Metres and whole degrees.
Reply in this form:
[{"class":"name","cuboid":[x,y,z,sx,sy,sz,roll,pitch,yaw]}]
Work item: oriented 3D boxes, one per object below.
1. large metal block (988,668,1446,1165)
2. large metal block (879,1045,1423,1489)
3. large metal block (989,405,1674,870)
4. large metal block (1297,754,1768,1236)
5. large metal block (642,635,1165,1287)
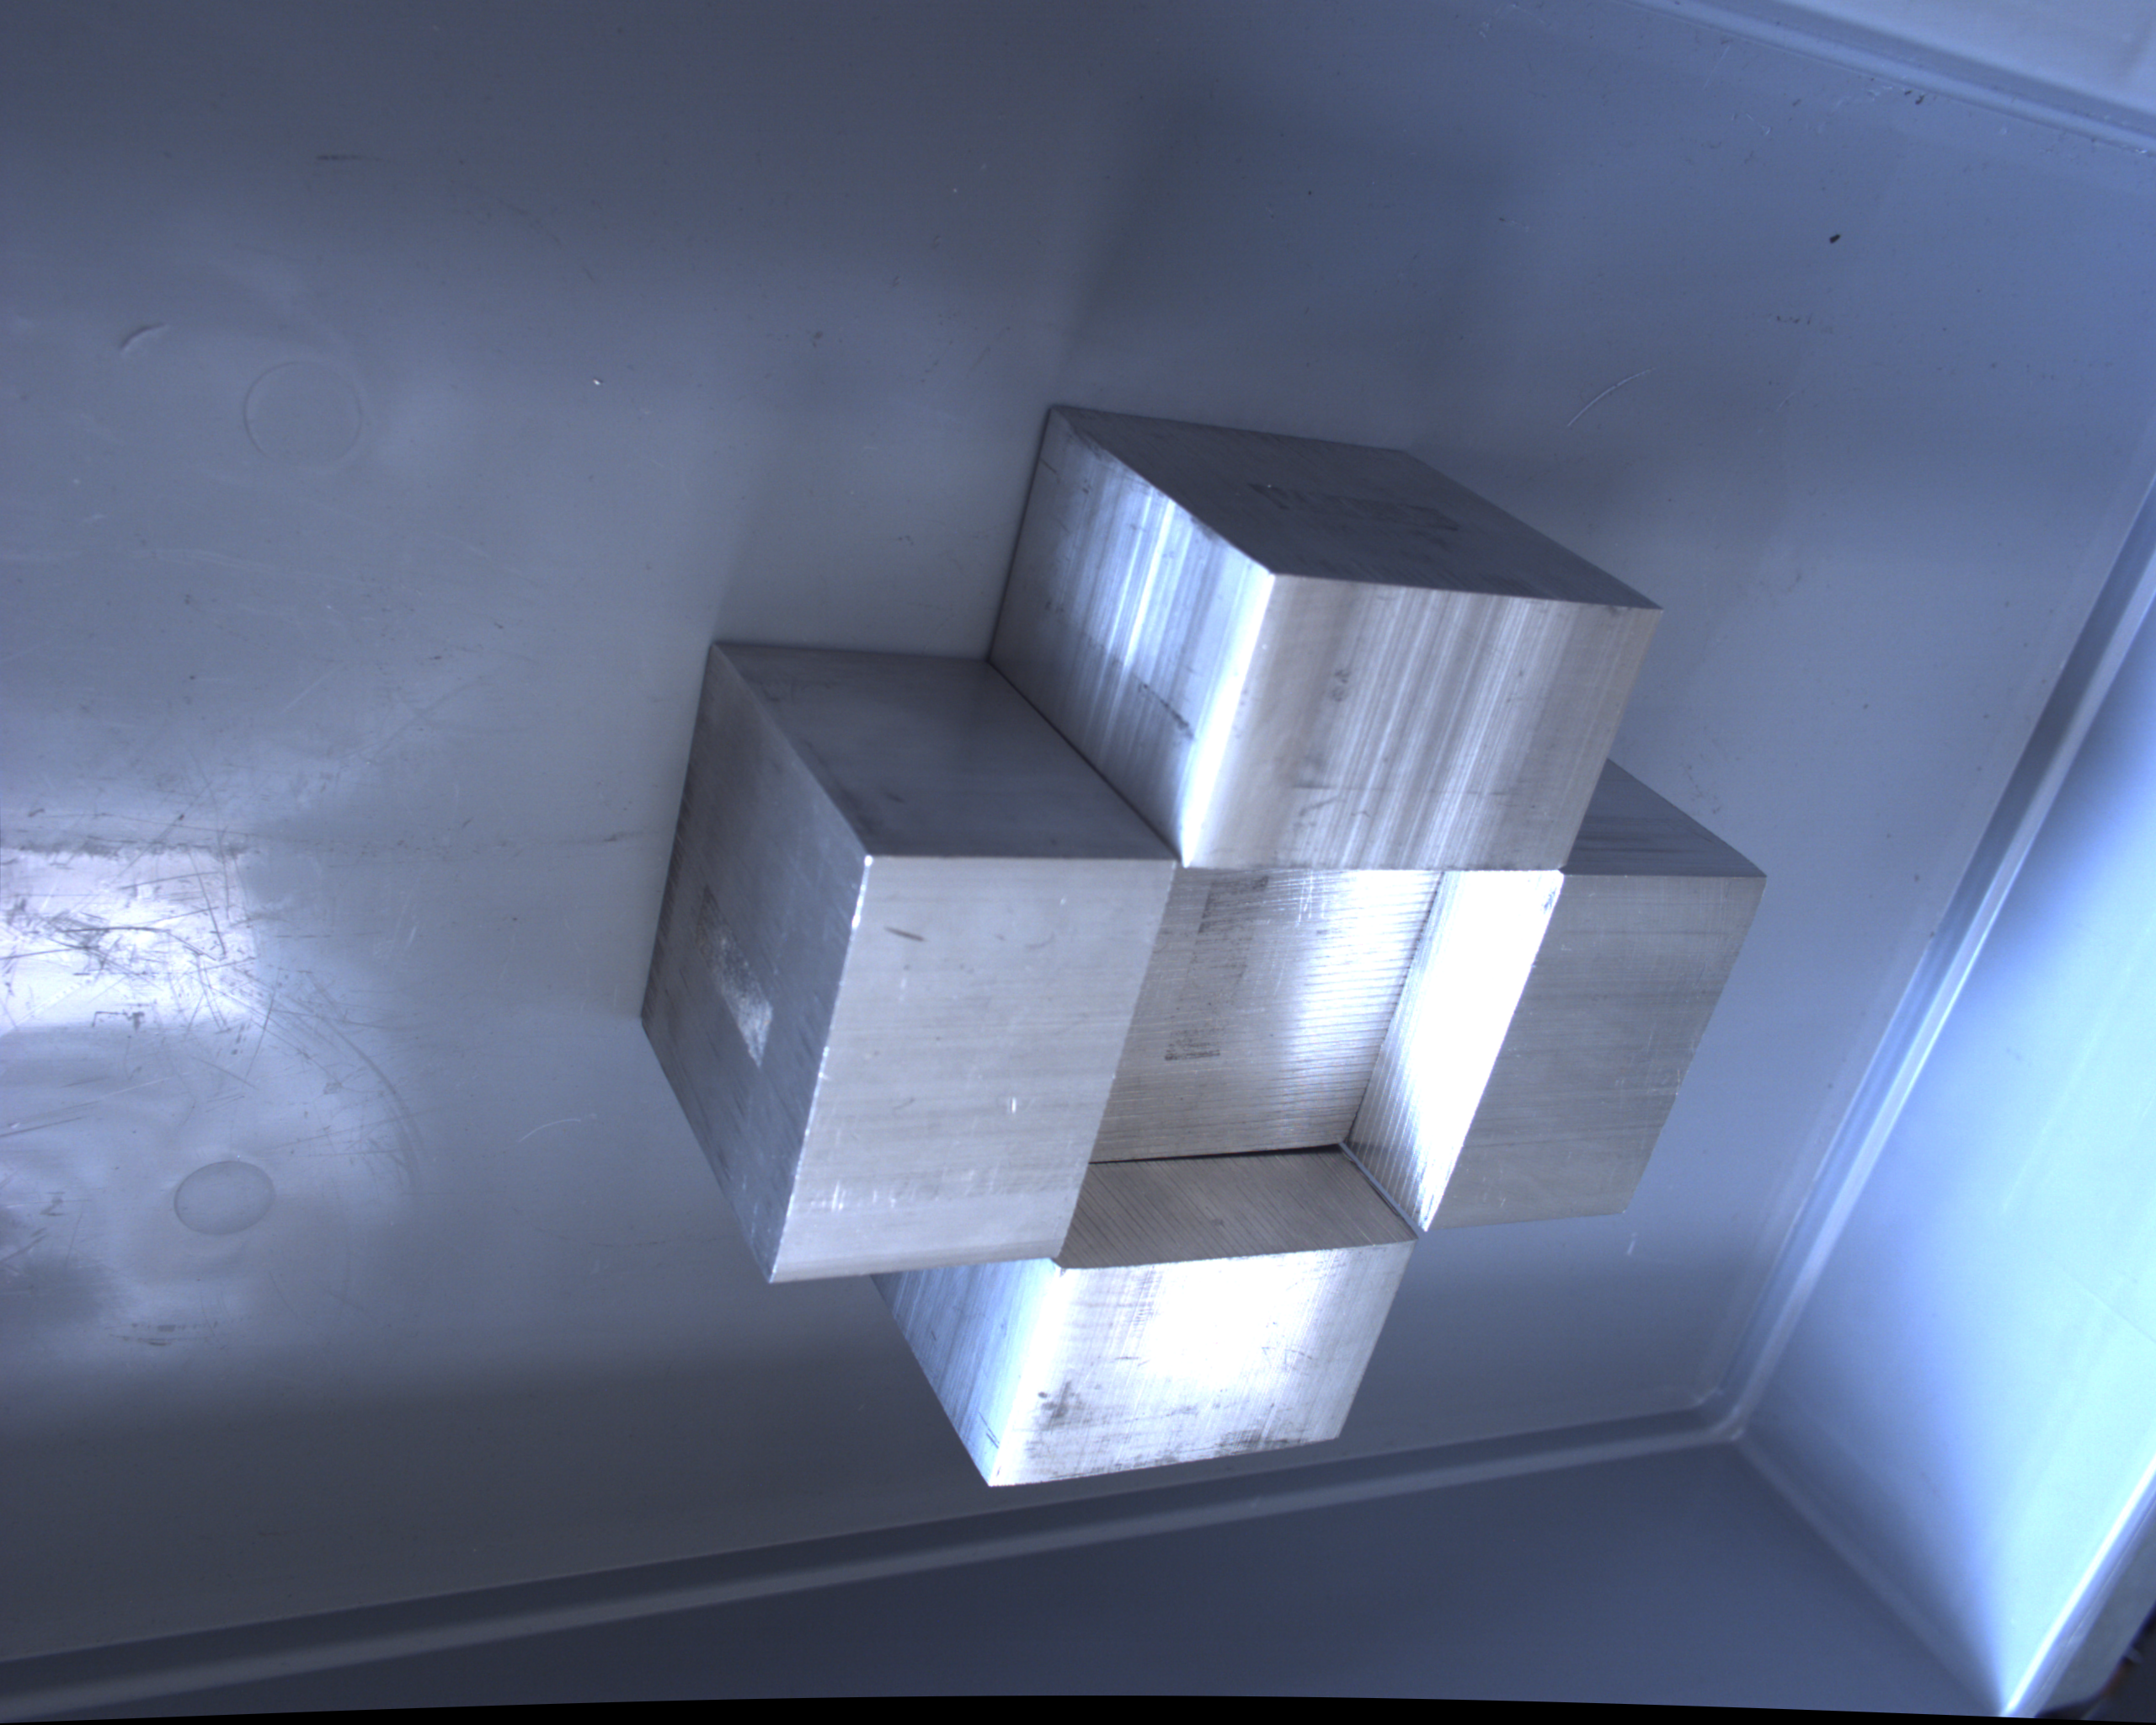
[{"class":"large metal block","cuboid":[0.019,0.010,0.406,0.081,0.050,0.079,1,118,-29]},{"class":"large metal block","cuboid":[0.008,0.074,0.421,0.081,0.080,0.050,2,118,-29]},{"class":"large metal block","cuboid":[0.041,-0.040,0.368,0.081,0.080,0.050,1,118,-29]},{"class":"large metal block","cuboid":[0.081,0.018,0.427,0.050,0.080,0.079,1,118,-29]},{"class":"large metal block","cuboid":[-0.035,0.014,0.362,0.050,0.080,0.079,1,118,-29]}]
